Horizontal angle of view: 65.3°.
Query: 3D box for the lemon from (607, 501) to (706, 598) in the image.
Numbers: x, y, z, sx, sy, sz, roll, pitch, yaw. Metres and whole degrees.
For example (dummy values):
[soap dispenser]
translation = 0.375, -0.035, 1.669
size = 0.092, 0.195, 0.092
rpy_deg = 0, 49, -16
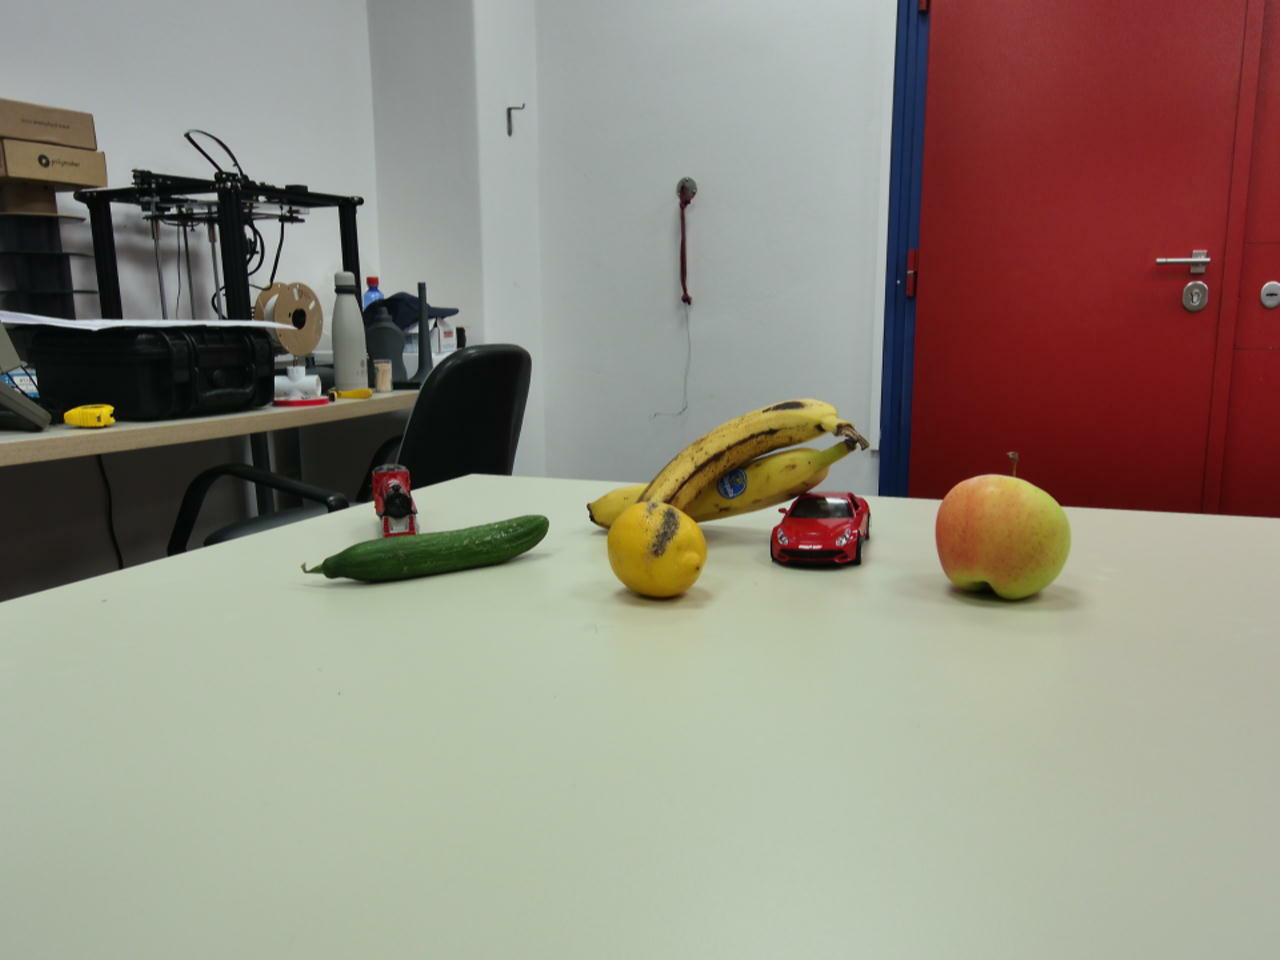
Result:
[lemon]
translation = 0.010, 0.042, 0.602
size = 0.061, 0.056, 0.058
rpy_deg = 3, 8, 15
